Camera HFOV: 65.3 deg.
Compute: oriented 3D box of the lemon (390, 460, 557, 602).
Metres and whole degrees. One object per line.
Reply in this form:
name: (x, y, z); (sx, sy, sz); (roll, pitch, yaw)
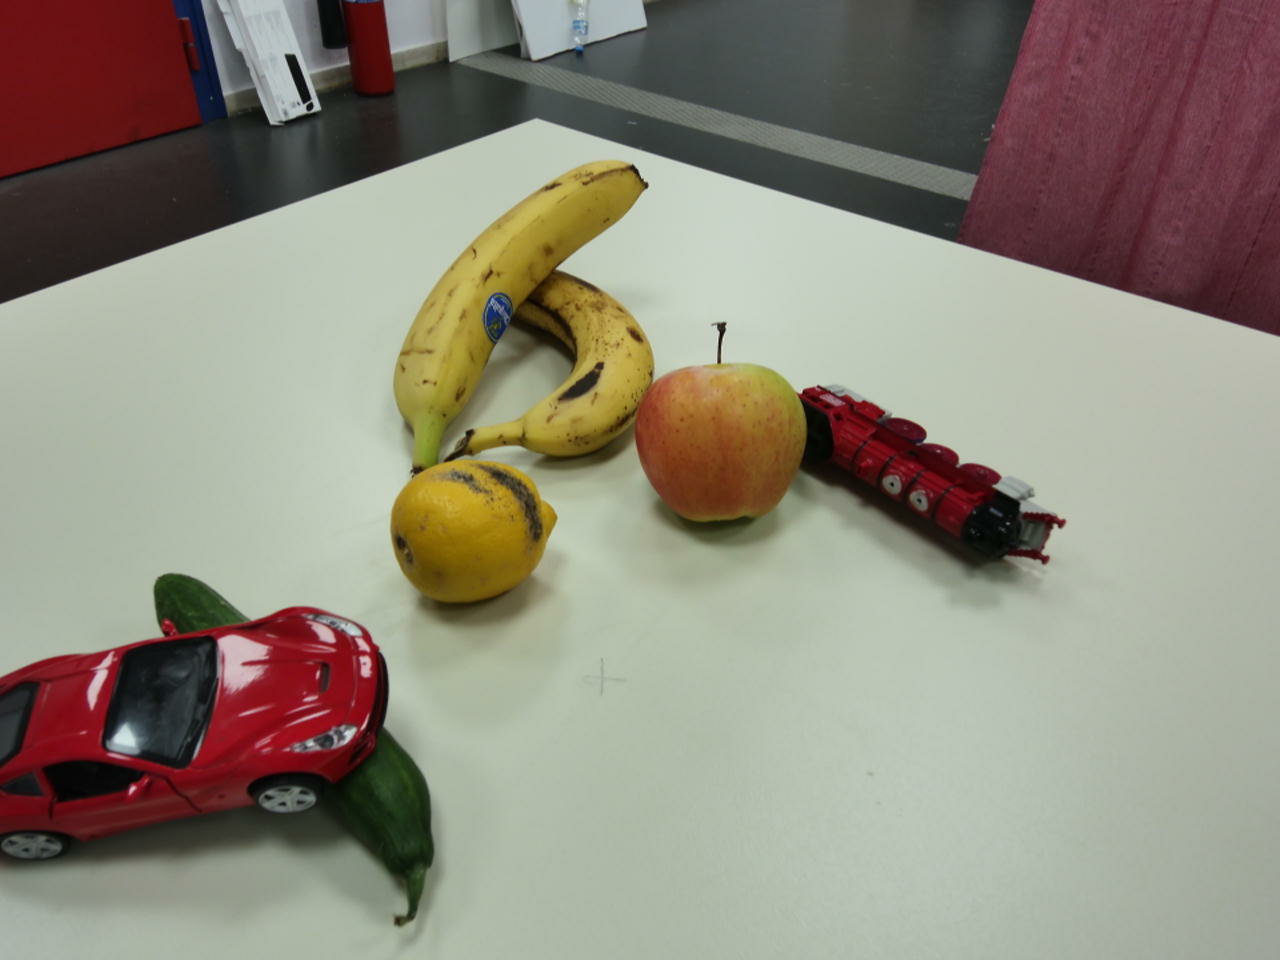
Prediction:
lemon: (-0.068, 0.019, 0.394); (0.058, 0.056, 0.061); (19, 40, 23)
